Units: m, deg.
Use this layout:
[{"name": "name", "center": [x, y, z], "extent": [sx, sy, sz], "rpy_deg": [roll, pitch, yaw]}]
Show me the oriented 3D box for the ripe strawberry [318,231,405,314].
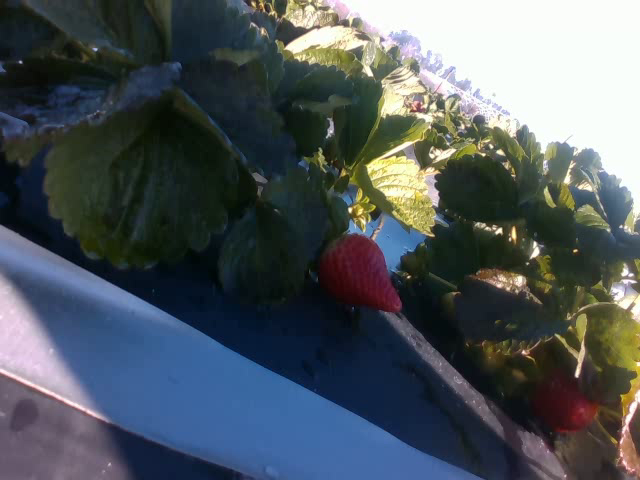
[{"name": "ripe strawberry", "center": [0.024, 0.020, 0.317], "extent": [0.045, 0.058, 0.042], "rpy_deg": [-26, -23, -27]}]
